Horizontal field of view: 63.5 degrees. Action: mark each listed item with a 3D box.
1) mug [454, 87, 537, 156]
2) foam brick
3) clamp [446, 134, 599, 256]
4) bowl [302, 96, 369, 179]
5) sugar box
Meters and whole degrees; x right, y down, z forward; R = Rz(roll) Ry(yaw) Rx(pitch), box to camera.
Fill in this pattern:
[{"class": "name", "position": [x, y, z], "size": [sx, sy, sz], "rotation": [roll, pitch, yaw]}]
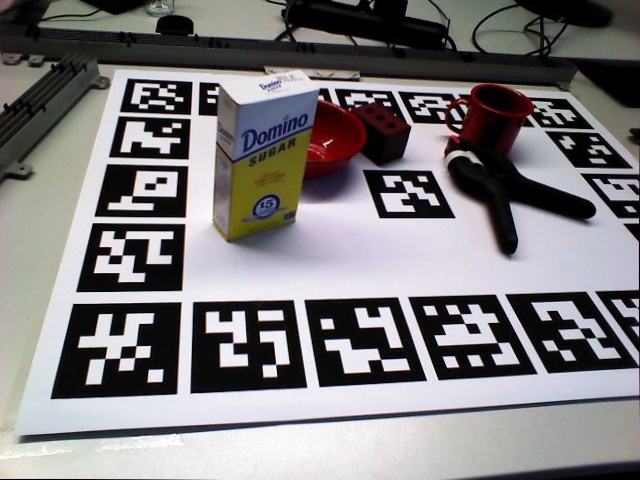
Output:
[{"class": "mug", "position": [0.256, -0.180, 0.766], "size": [0.117, 0.082, 0.092], "rotation": [20, 46, 5]}, {"class": "foam brick", "position": [0.090, -0.145, 0.734], "size": [0.052, 0.051, 0.078], "rotation": [-23, 55, -28]}, {"class": "clamp", "position": [0.240, -0.076, 0.686], "size": [0.164, 0.037, 0.202], "rotation": [-20, 53, -25]}, {"class": "bowl", "position": [-0.020, -0.131, 0.688], "size": [0.162, 0.055, 0.160], "rotation": [6, 45, -6]}, {"class": "sugar box", "position": [-0.066, -0.077, 0.542], "size": [0.092, 0.177, 0.045], "rotation": [-20, 54, -28]}]
